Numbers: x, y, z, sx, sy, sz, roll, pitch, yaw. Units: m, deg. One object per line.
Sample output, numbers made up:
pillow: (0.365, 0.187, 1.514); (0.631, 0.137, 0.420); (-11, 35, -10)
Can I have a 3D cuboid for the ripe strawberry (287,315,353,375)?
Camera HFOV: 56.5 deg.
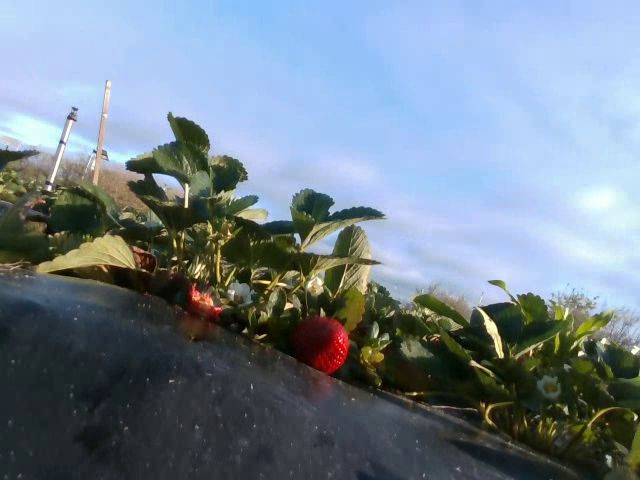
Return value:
ripe strawberry: (0.004, 0.066, 0.399); (0.052, 0.041, 0.052); (3, -20, -17)
